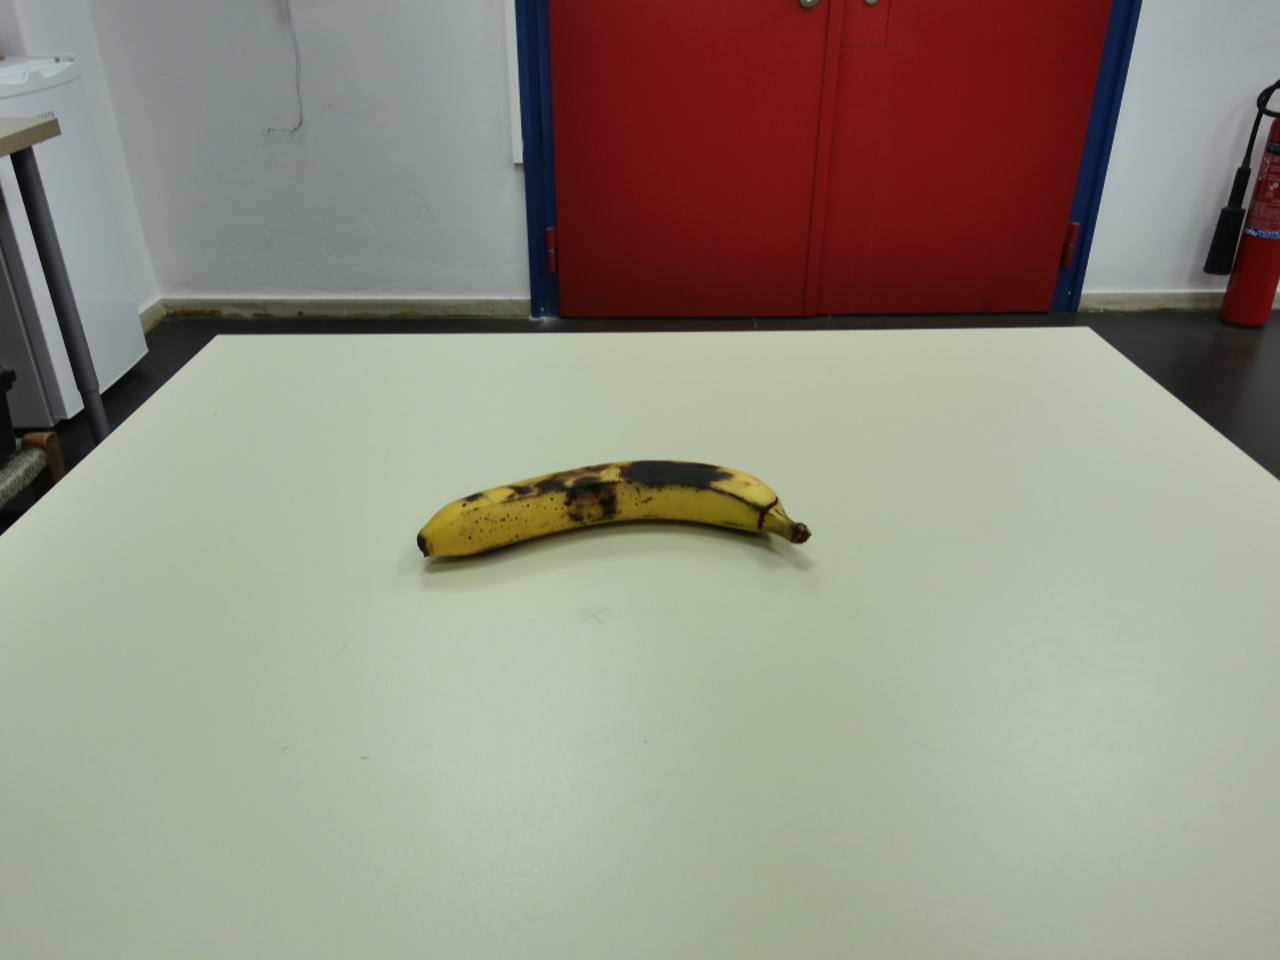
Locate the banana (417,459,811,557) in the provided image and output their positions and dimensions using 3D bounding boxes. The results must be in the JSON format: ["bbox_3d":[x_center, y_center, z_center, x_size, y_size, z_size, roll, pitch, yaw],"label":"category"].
[{"bbox_3d":[-0.015,0.016,0.598,0.222,0.037,0.084,0,26,0],"label":"banana"}]
